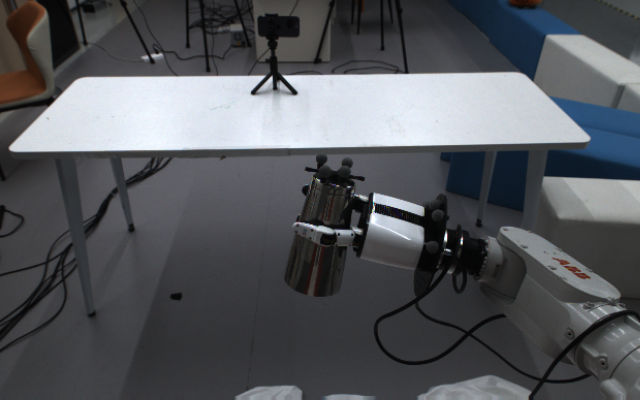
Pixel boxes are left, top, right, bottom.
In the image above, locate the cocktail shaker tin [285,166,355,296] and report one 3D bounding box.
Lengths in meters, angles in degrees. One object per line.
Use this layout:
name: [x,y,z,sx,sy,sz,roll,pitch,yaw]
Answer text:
cocktail shaker tin: [0.005,0.048,0.732,0.093,0.170,0.093,11,19,-4]
